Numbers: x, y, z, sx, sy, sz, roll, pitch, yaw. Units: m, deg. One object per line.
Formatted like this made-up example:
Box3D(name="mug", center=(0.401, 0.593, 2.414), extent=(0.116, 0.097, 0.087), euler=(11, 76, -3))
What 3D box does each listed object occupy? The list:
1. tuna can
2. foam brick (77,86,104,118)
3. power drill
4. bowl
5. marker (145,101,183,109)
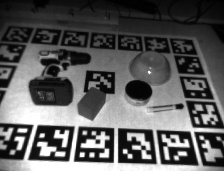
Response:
Box3D(name="tuna can", center=(0.081, 0.012, 0.699), extent=(0.086, 0.034, 0.085), euler=(5, 50, -5))
Box3D(name="foam brick", center=(-0.064, 0.049, 0.648), extent=(0.051, 0.053, 0.078), euler=(23, 53, 11))
Box3D(name="power drill", center=(-0.177, -0.047, 0.708), extent=(0.185, 0.057, 0.186), euler=(5, 48, -7))
Box3D(name="bowl", center=(0.133, -0.084, 0.785), extent=(0.162, 0.055, 0.161), euler=(2, 43, -1))
Box3D(name="marker", center=(0.165, 0.061, 0.677), extent=(0.122, 0.020, 0.019), euler=(-4, 52, -11))
